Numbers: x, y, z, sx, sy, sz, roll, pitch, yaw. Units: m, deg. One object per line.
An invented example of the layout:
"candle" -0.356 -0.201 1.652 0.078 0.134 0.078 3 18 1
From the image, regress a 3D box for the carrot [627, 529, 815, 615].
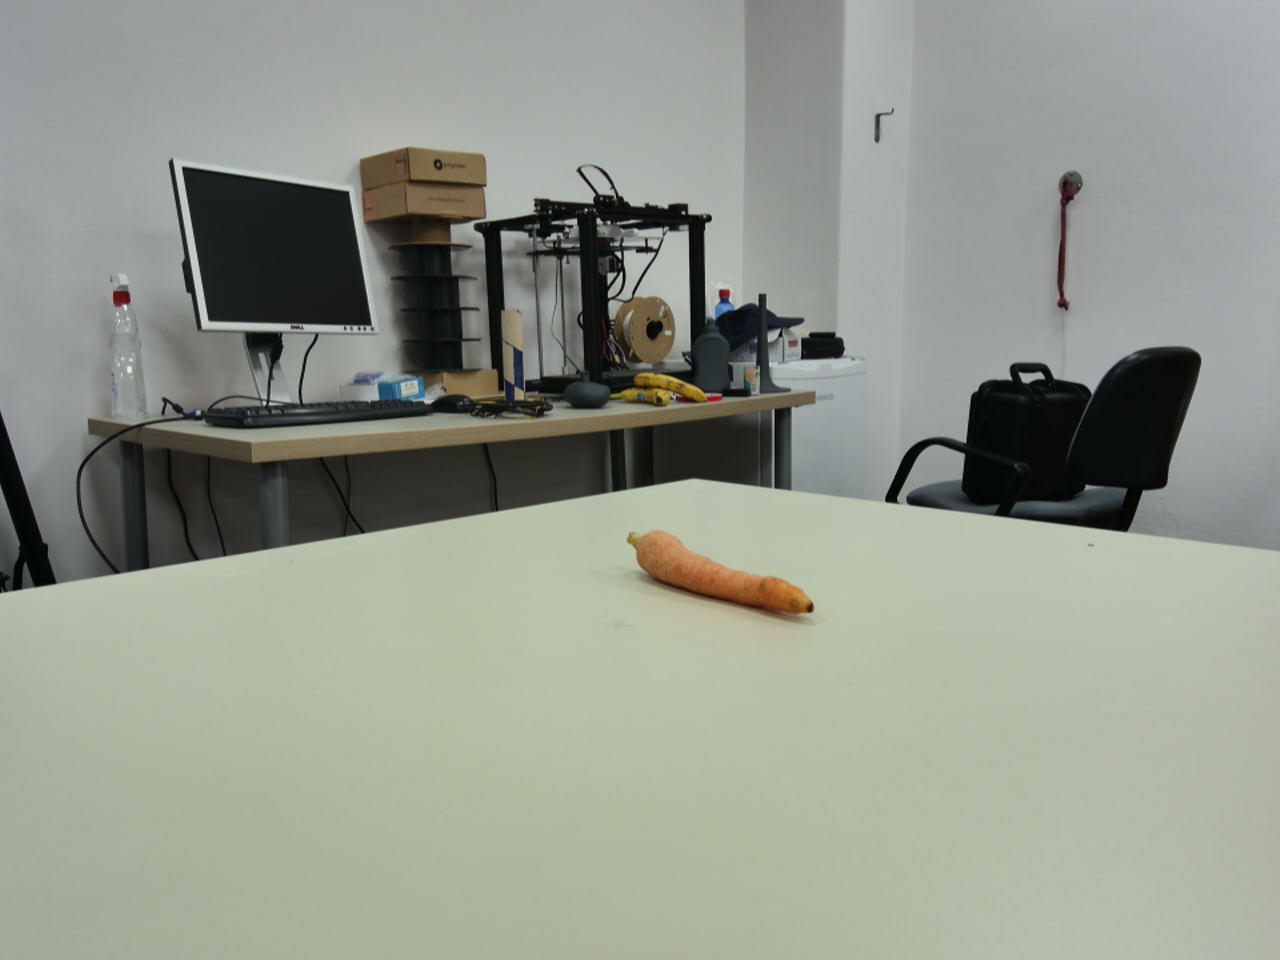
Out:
"carrot" 0.046 0.057 0.630 0.030 0.032 0.173 -4 8 -34
